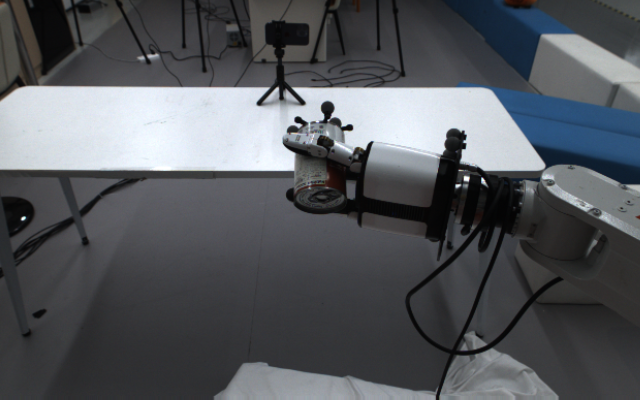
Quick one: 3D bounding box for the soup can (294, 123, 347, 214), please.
[{"bbox_3d":[0.001,-0.043,0.621,0.067,0.067,0.101,1,61,-2],"label":"soup can"}]
